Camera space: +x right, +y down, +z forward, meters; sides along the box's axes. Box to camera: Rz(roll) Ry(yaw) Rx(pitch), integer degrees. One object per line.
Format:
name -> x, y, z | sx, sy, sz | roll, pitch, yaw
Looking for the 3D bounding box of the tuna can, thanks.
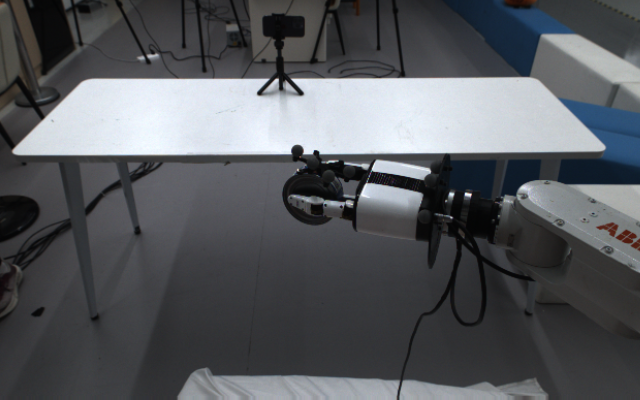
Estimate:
tuna can -> -0.009, -0.007, 0.714 | 0.085, 0.085, 0.034 | 12, 30, 15
